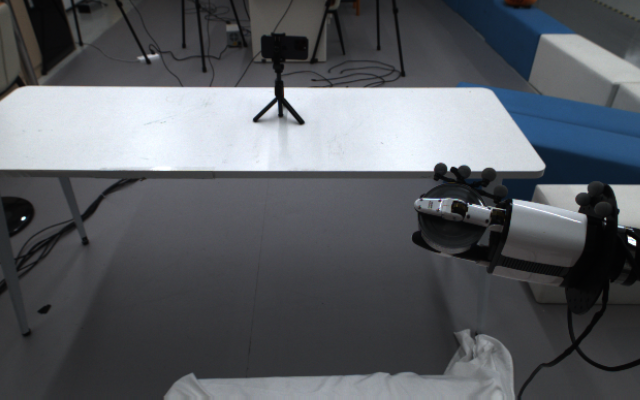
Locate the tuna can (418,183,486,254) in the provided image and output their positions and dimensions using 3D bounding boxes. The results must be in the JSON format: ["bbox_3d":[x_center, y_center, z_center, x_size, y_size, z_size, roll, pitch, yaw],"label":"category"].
[{"bbox_3d":[0.168,0.021,0.612,0.085,0.034,0.085,-4,65,10],"label":"tuna can"}]
